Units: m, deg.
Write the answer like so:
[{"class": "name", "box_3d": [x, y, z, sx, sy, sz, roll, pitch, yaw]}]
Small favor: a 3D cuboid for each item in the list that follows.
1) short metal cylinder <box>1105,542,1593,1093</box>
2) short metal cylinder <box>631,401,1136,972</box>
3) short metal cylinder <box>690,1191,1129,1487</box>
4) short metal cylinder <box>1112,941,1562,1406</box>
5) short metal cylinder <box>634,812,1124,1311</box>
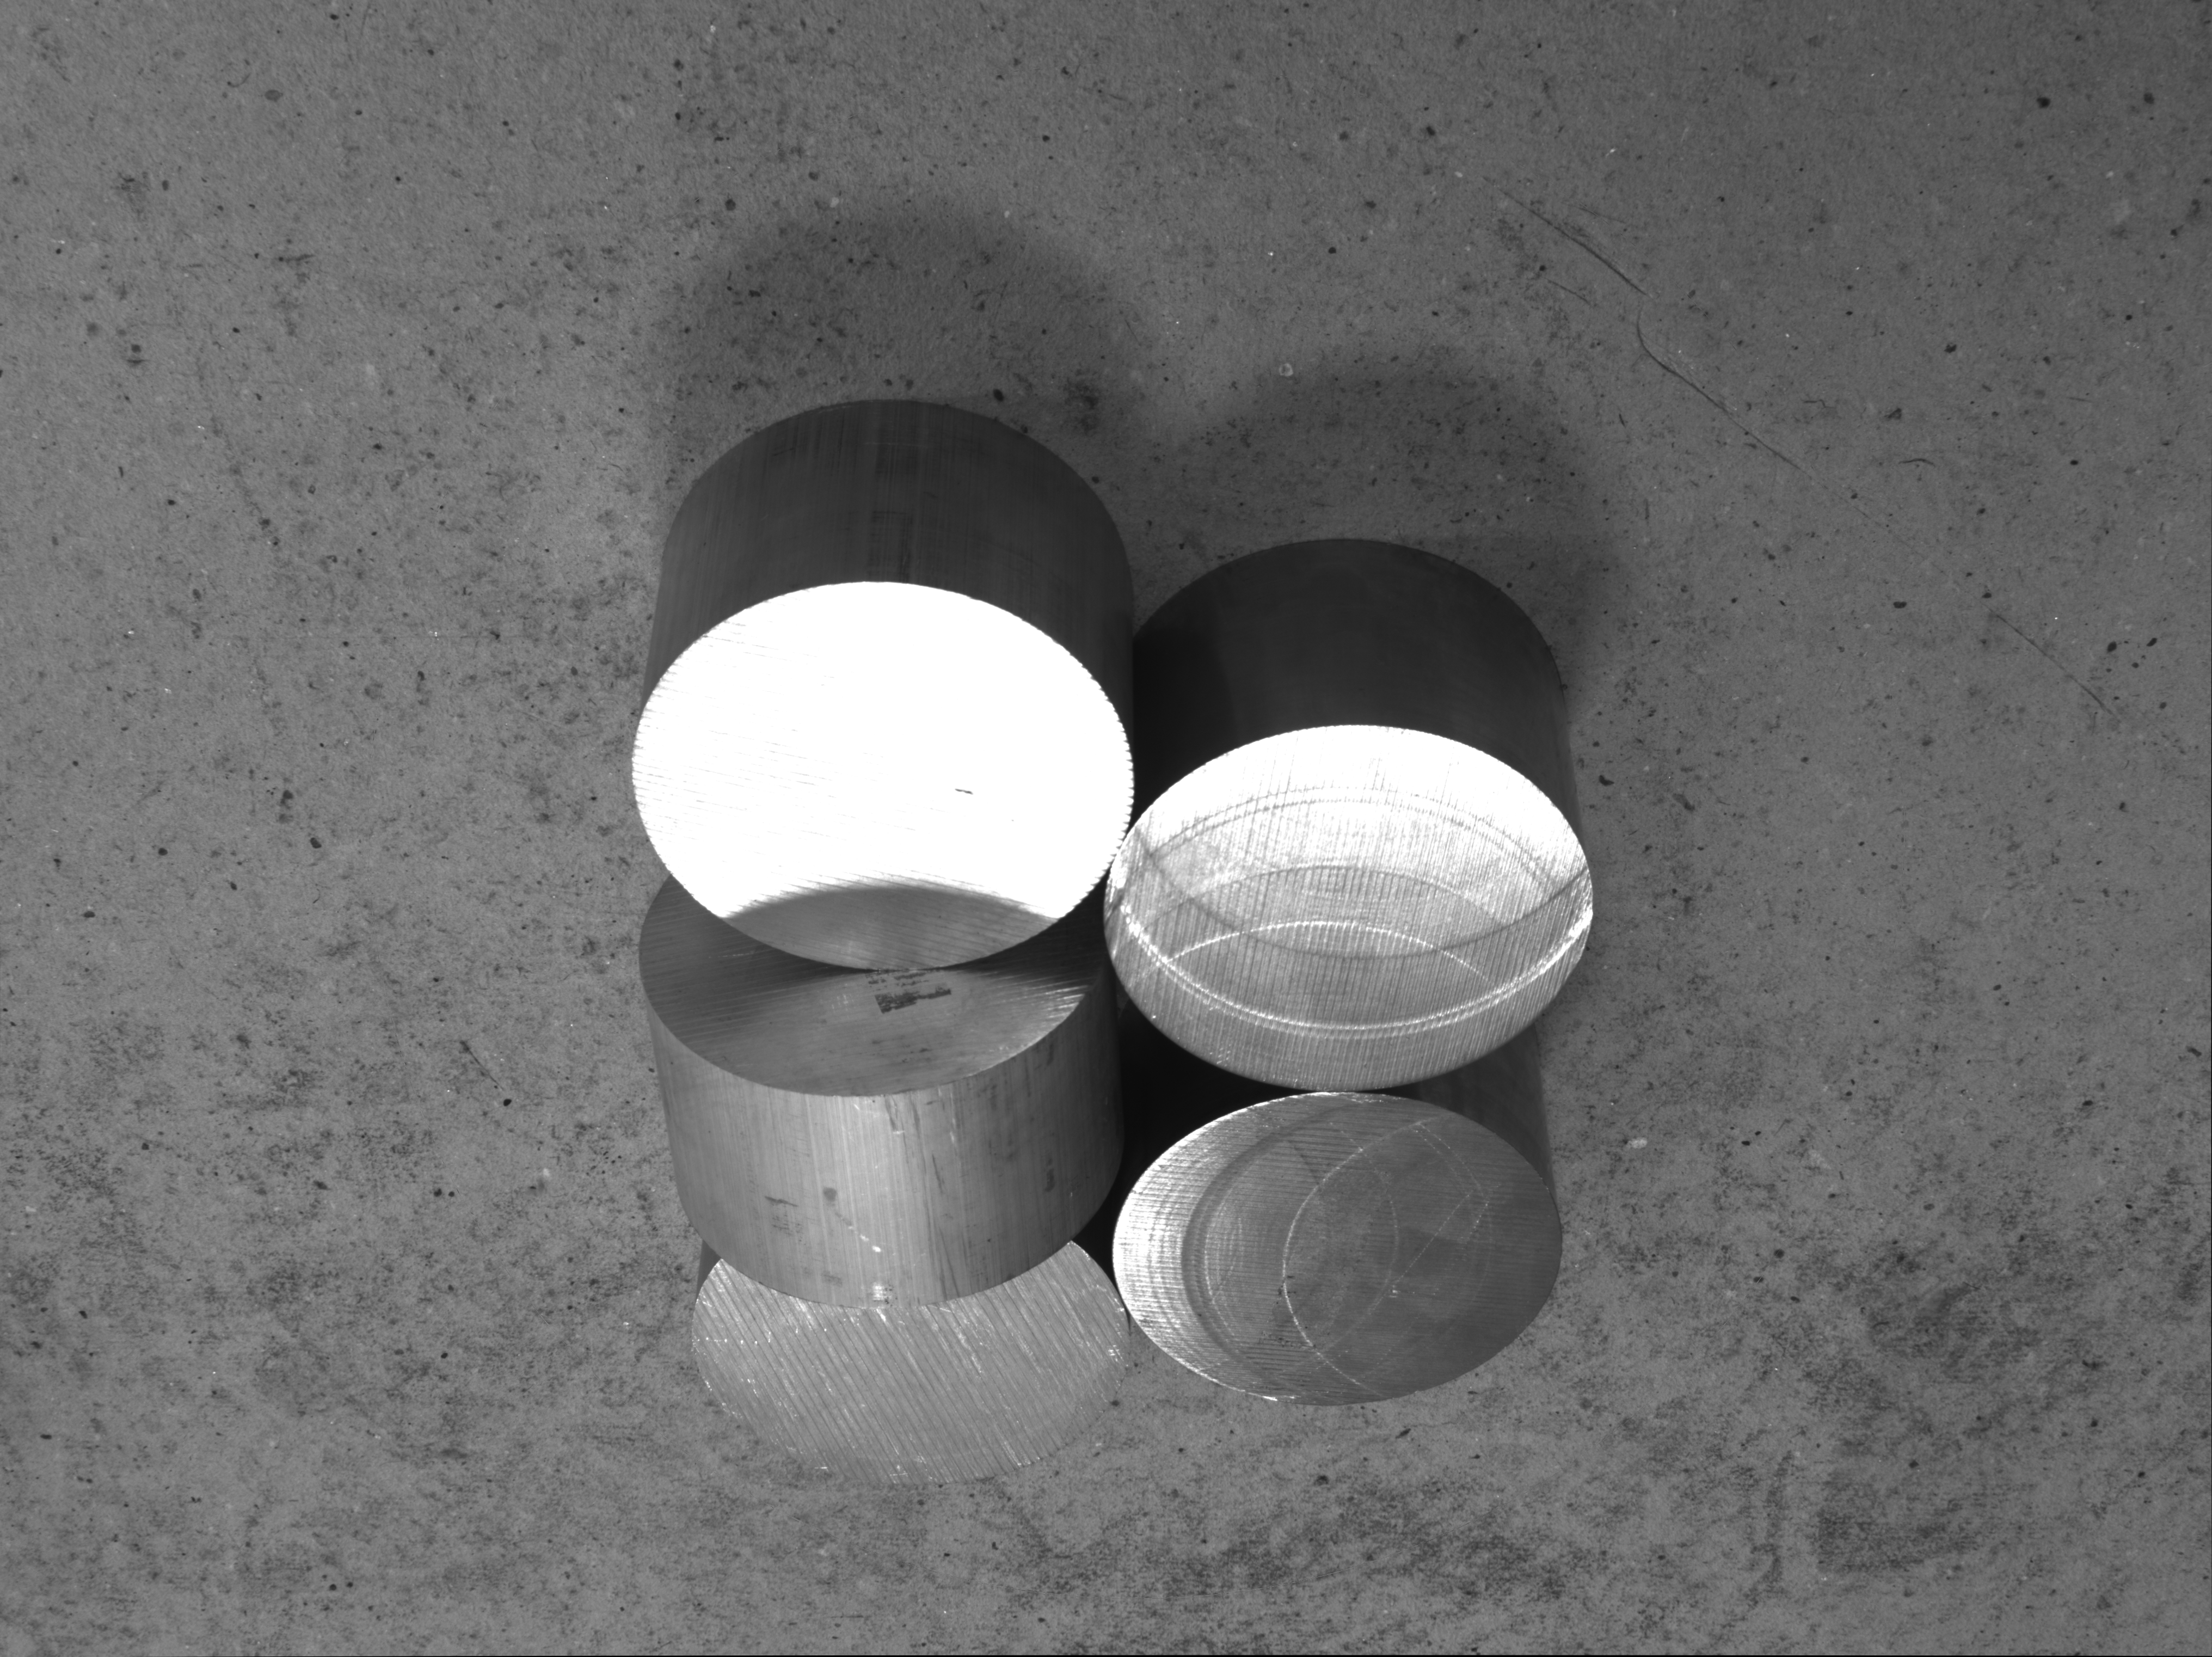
[{"class": "short metal cylinder", "box_3d": [0.040, -0.001, 0.621, 0.080, 0.050, 0.080, 0, 130, 0]}, {"class": "short metal cylinder", "box_3d": [-0.035, -0.023, 0.604, 0.080, 0.050, 0.080, 0, 130, 1]}, {"class": "short metal cylinder", "box_3d": [-0.035, 0.078, 0.688, 0.080, 0.050, 0.080, 0, 130, 1]}, {"class": "short metal cylinder", "box_3d": [0.042, 0.060, 0.673, 0.080, 0.050, 0.080, 0, 130, 1]}, {"class": "short metal cylinder", "box_3d": [-0.038, 0.037, 0.634, 0.080, 0.080, 0.050, -2, 130, 2]}]
